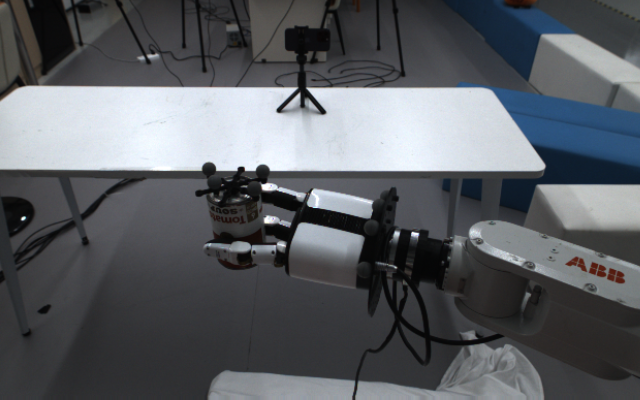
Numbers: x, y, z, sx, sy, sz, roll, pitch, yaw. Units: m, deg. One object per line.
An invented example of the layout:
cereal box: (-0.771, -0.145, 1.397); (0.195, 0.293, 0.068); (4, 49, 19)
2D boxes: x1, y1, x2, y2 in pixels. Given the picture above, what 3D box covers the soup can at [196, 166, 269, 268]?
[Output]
soup can: (-0.103, 0.029, 0.618); (0.067, 0.101, 0.067); (-2, 33, 1)
